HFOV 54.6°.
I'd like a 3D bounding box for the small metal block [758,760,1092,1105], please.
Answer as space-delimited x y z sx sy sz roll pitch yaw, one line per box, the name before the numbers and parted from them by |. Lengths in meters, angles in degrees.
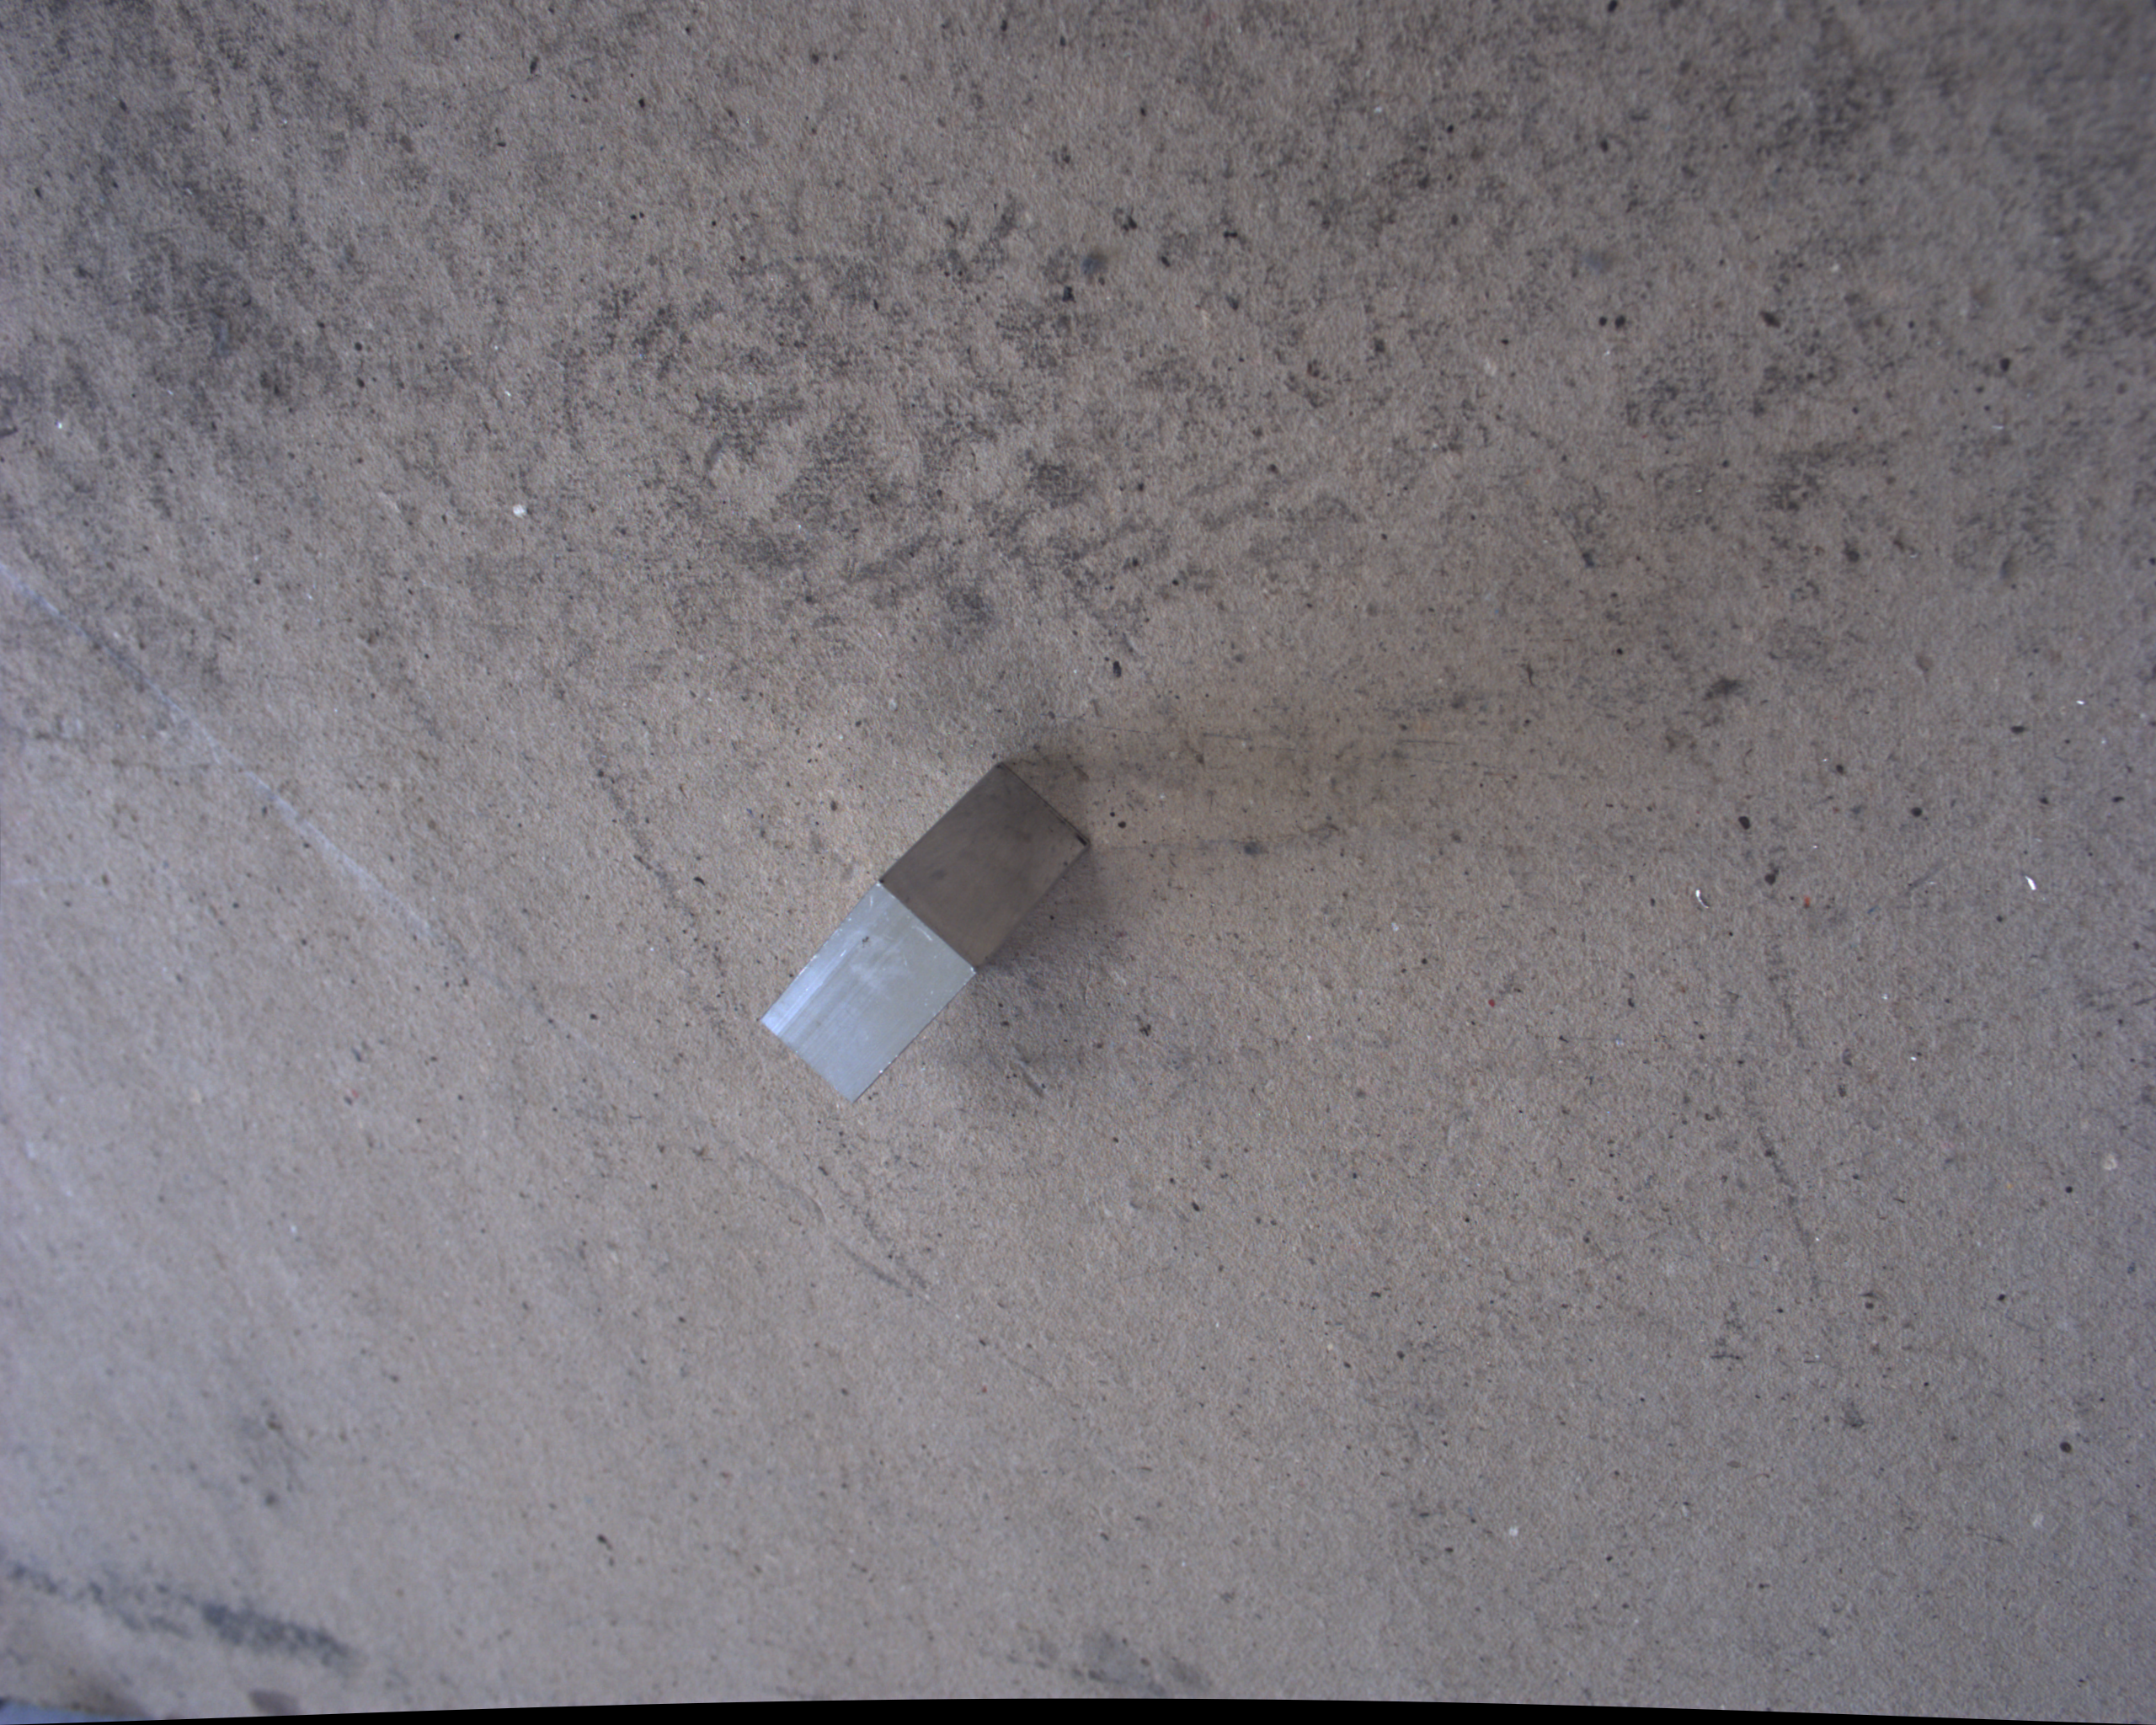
small metal block | -0.030 0.014 0.417 0.025 0.050 0.050 42 129 -1
